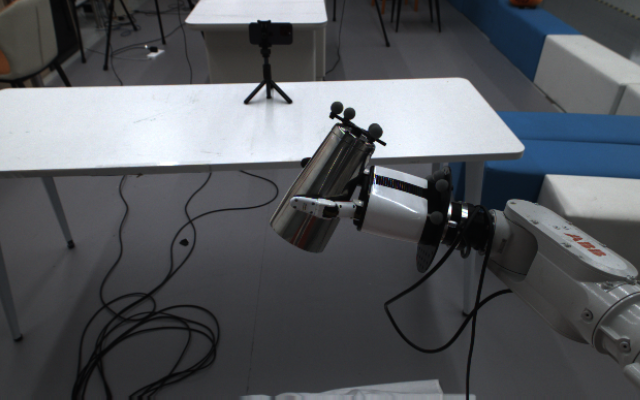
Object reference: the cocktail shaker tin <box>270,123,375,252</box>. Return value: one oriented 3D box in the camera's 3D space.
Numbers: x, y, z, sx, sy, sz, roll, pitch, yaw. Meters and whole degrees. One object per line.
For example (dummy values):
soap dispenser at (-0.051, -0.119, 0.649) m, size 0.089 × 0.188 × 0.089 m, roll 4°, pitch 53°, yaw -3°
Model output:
cocktail shaker tin at (0.008, -0.023, 0.691) m, size 0.093 × 0.170 × 0.093 m, roll 28°, pitch 14°, yaw -8°
